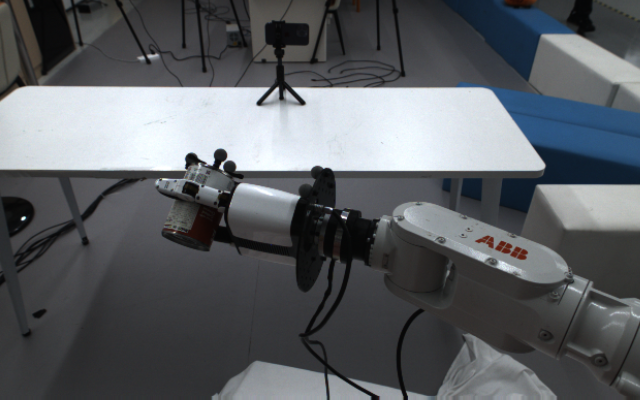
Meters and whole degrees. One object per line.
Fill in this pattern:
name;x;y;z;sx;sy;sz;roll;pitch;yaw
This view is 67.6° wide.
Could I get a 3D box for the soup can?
soup can;-0.162;0.010;0.647;0.067;0.067;0.101;12;71;14
